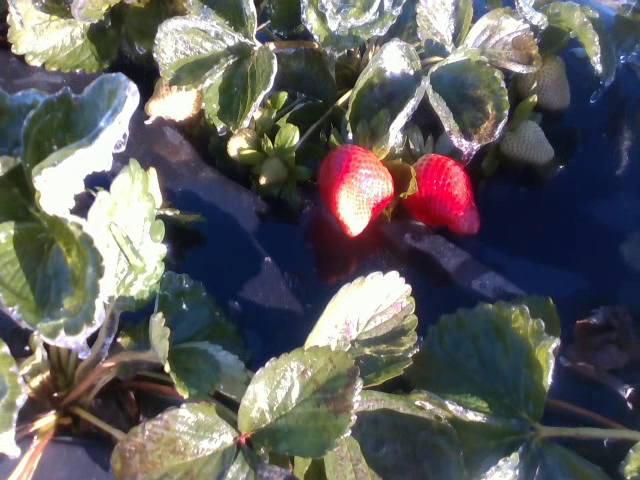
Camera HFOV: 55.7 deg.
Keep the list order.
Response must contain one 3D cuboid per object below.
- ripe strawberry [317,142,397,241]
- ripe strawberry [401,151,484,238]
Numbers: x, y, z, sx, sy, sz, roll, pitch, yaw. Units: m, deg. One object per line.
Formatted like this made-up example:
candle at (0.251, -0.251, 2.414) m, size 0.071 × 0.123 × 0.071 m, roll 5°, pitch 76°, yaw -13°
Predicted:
ripe strawberry at (0.024, -0.027, 0.364) m, size 0.052 × 0.070 × 0.040 m, roll 23°, pitch -31°, yaw -12°
ripe strawberry at (0.078, -0.031, 0.368) m, size 0.043 × 0.059 × 0.040 m, roll -26°, pitch -17°, yaw -20°
